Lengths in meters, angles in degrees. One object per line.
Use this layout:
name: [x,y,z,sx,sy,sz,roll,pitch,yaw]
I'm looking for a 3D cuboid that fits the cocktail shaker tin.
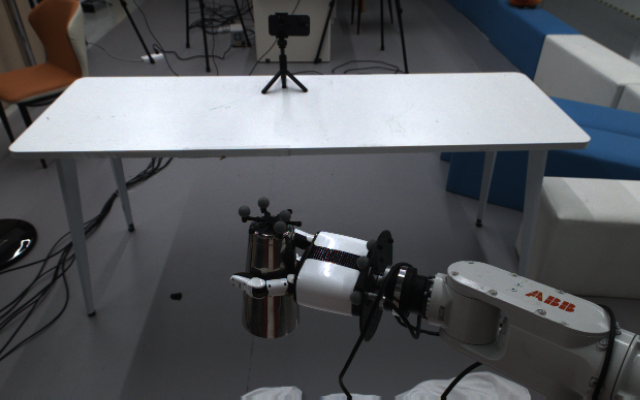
cocktail shaker tin: [-0.074,0.113,0.737,0.093,0.170,0.093,2,25,-1]
